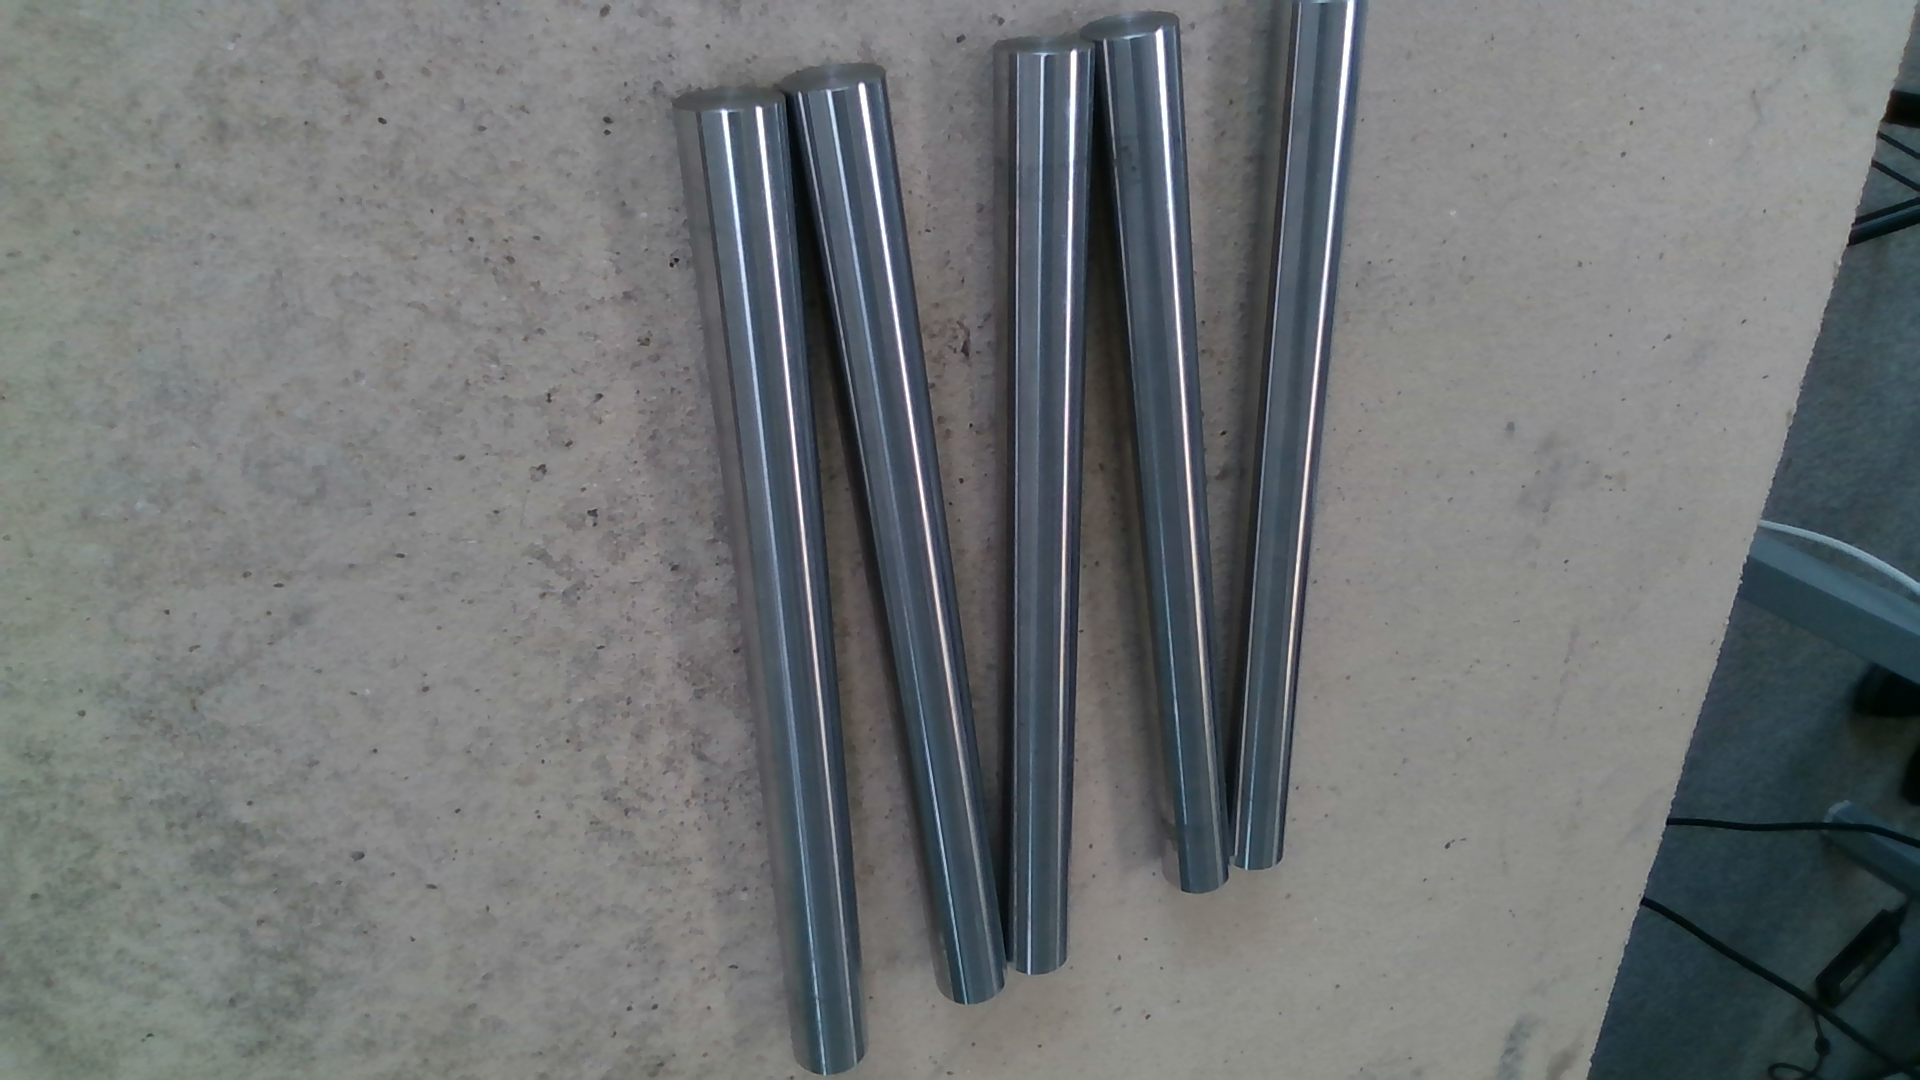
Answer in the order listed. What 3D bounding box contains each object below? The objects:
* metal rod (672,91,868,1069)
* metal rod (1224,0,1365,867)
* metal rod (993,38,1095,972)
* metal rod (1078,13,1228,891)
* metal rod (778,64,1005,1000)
[{"bbox_3d":[-0.047,0.033,0.380,0.025,0.025,0.301,-16,122,-24],"label":"metal rod"},{"bbox_3d":[0.102,-0.016,0.445,0.025,0.025,0.301,-17,123,-23],"label":"metal rod"},{"bbox_3d":[0.023,0.011,0.410,0.025,0.025,0.301,-16,122,-24],"label":"metal rod"},{"bbox_3d":[0.064,-0.005,0.427,0.025,0.025,0.301,-23,125,-20],"label":"metal rod"},{"bbox_3d":[-0.013,0.021,0.394,0.025,0.025,0.301,-21,124,-21],"label":"metal rod"}]
